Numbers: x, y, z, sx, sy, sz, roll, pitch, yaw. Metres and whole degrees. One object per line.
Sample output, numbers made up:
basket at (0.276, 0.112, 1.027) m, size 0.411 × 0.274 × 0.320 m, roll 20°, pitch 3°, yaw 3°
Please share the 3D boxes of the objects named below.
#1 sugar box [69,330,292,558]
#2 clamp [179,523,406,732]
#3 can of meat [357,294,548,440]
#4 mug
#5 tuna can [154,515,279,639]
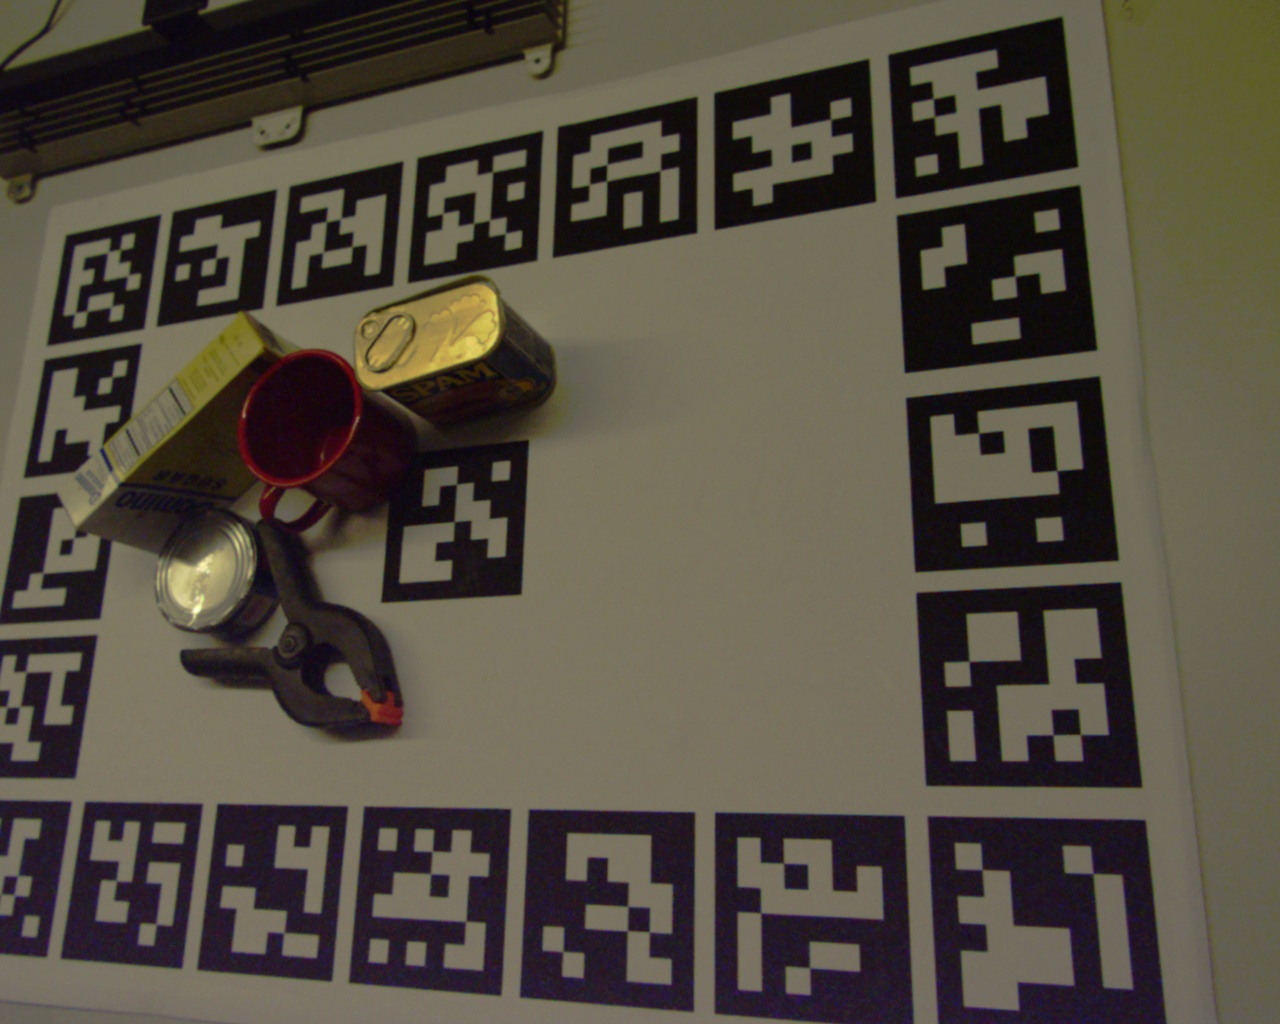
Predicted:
sugar box at (-0.304, -0.043, 0.809) m, size 0.177 × 0.092 × 0.046 m, roll -41°, pitch 64°, yaw 5°
clamp at (-0.225, 0.096, 0.772) m, size 0.167 × 0.036 × 0.122 m, roll 33°, pitch 85°, yaw 21°
can of meat at (-0.121, -0.092, 0.754) m, size 0.102 × 0.083 × 0.058 m, roll -13°, pitch 71°, yaw 16°
mug at (-0.218, -0.037, 0.770) m, size 0.094 × 0.080 × 0.117 m, roll 22°, pitch 87°, yaw 24°
tuna can at (-0.300, 0.047, 0.809) m, size 0.086 × 0.033 × 0.086 m, roll -5°, pitch 76°, yaw 21°
